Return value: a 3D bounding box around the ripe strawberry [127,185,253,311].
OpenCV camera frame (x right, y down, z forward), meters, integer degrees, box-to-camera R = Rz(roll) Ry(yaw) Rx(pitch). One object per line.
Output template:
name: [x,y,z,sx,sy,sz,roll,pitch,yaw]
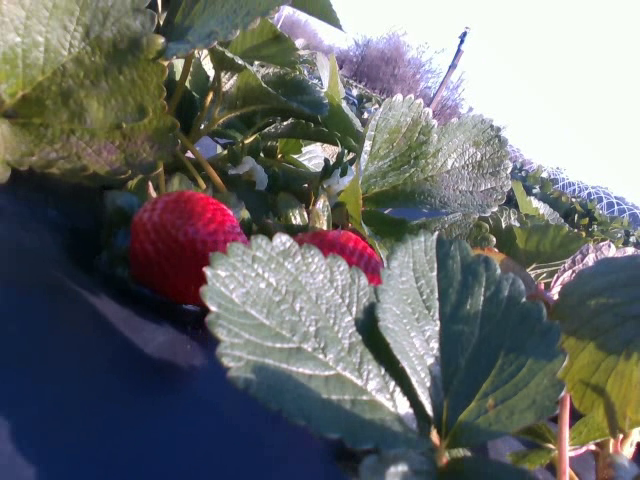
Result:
ripe strawberry: [-0.035,0.002,0.177,0.043,0.037,0.051,-24,28,-36]
